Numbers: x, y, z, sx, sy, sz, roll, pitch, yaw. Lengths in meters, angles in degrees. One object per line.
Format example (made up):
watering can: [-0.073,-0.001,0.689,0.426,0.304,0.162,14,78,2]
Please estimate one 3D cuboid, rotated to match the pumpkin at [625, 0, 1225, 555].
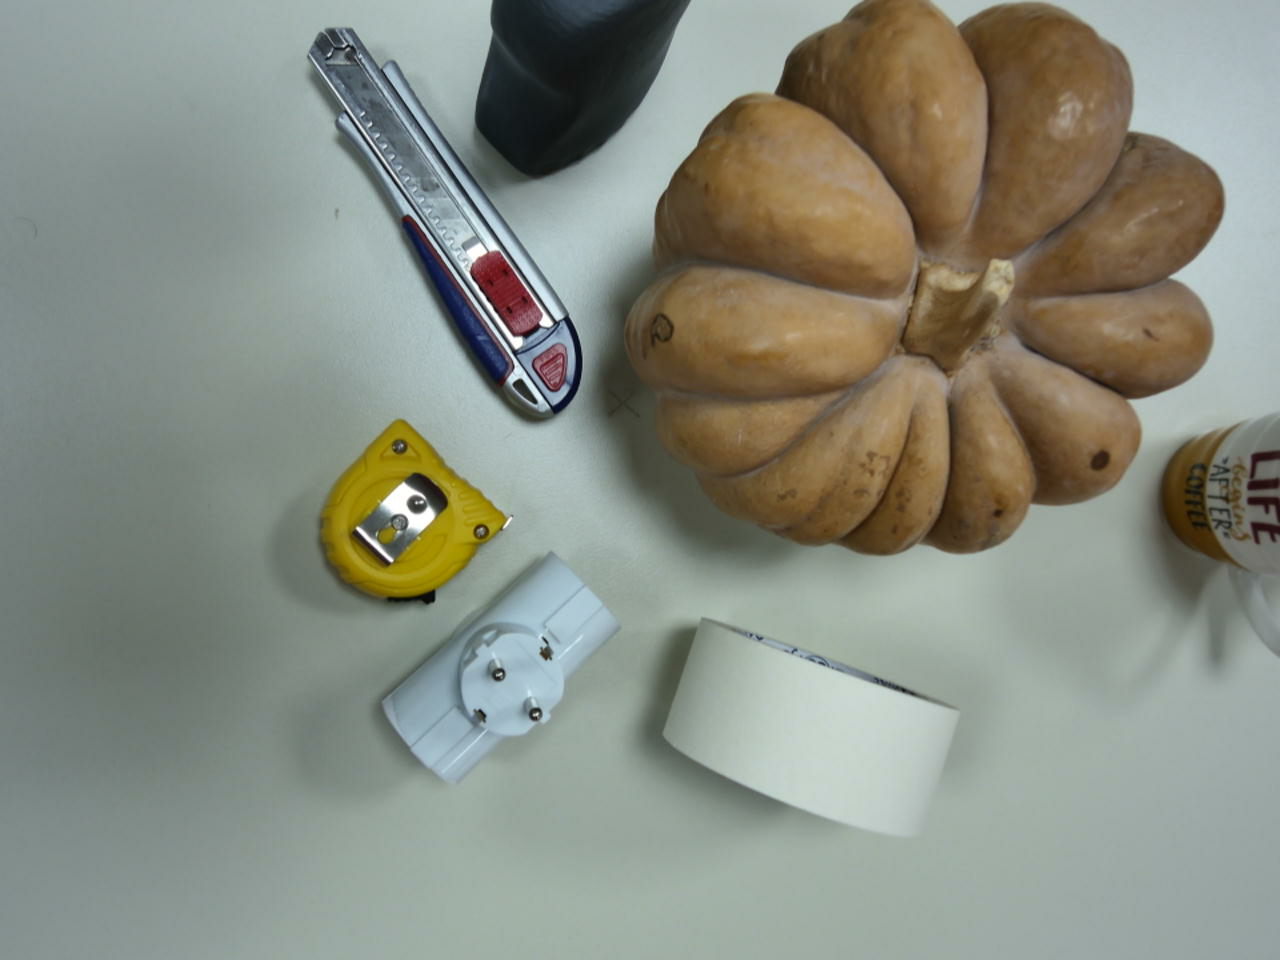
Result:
pumpkin: [0.093,-0.066,0.369,0.199,0.177,0.198,0,91,-12]
